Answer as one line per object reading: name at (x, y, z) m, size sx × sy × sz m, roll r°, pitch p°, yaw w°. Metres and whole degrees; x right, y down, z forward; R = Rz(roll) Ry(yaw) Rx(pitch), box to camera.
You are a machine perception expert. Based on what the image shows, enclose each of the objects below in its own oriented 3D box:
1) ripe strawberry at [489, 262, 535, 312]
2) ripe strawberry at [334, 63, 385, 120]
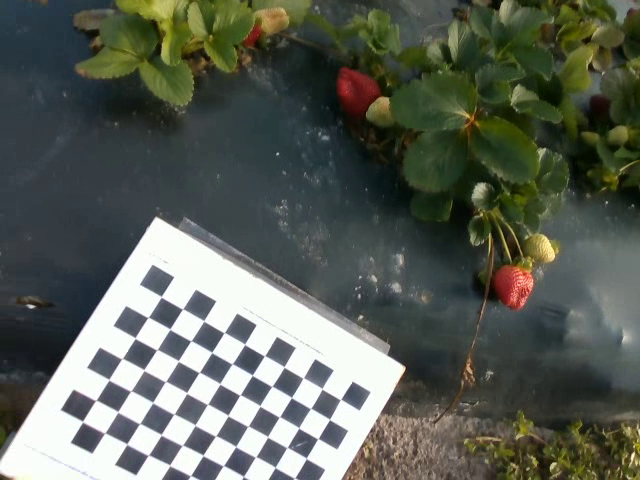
ripe strawberry at (0.216, 0.053, 0.580) m, size 0.047 × 0.050 × 0.034 m, roll 11°, pitch -7°, yaw -9°
ripe strawberry at (0.046, -0.183, 0.647) m, size 0.071 × 0.058 × 0.057 m, roll 46°, pitch -7°, yaw -33°
